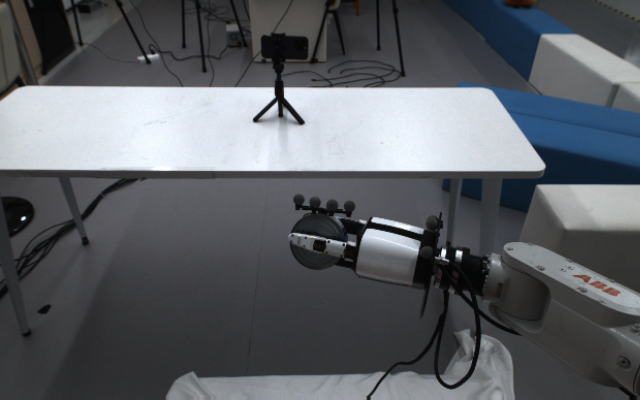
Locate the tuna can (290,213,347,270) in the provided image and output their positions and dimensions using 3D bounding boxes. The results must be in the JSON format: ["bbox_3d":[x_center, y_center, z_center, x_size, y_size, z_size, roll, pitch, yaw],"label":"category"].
[{"bbox_3d":[0.000,0.061,0.737,0.085,0.085,0.034,11,2,13],"label":"tuna can"}]
